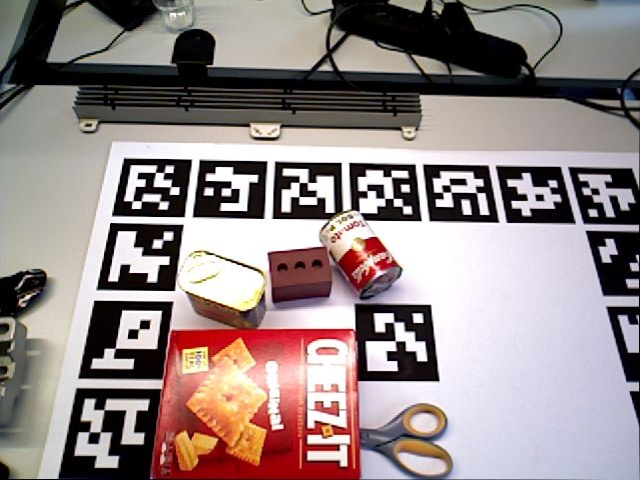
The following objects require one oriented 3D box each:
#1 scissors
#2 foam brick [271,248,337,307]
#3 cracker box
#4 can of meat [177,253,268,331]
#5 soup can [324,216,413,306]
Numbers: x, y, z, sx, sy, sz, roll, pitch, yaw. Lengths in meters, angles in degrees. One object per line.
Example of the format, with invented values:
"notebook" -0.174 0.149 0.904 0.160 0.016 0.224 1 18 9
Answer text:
"scissors" 0.053 0.237 0.608 0.201 0.016 0.087 -4 64 -3
"foam brick" -0.020 0.049 0.693 0.077 0.052 0.052 -8 64 -6
"cracker box" -0.061 0.189 0.594 0.213 0.073 0.162 -6 63 0
"can of meat" -0.114 0.067 0.661 0.101 0.085 0.057 14 64 4
"soup can" 0.061 0.026 0.705 0.067 0.069 0.102 -34 64 -17
